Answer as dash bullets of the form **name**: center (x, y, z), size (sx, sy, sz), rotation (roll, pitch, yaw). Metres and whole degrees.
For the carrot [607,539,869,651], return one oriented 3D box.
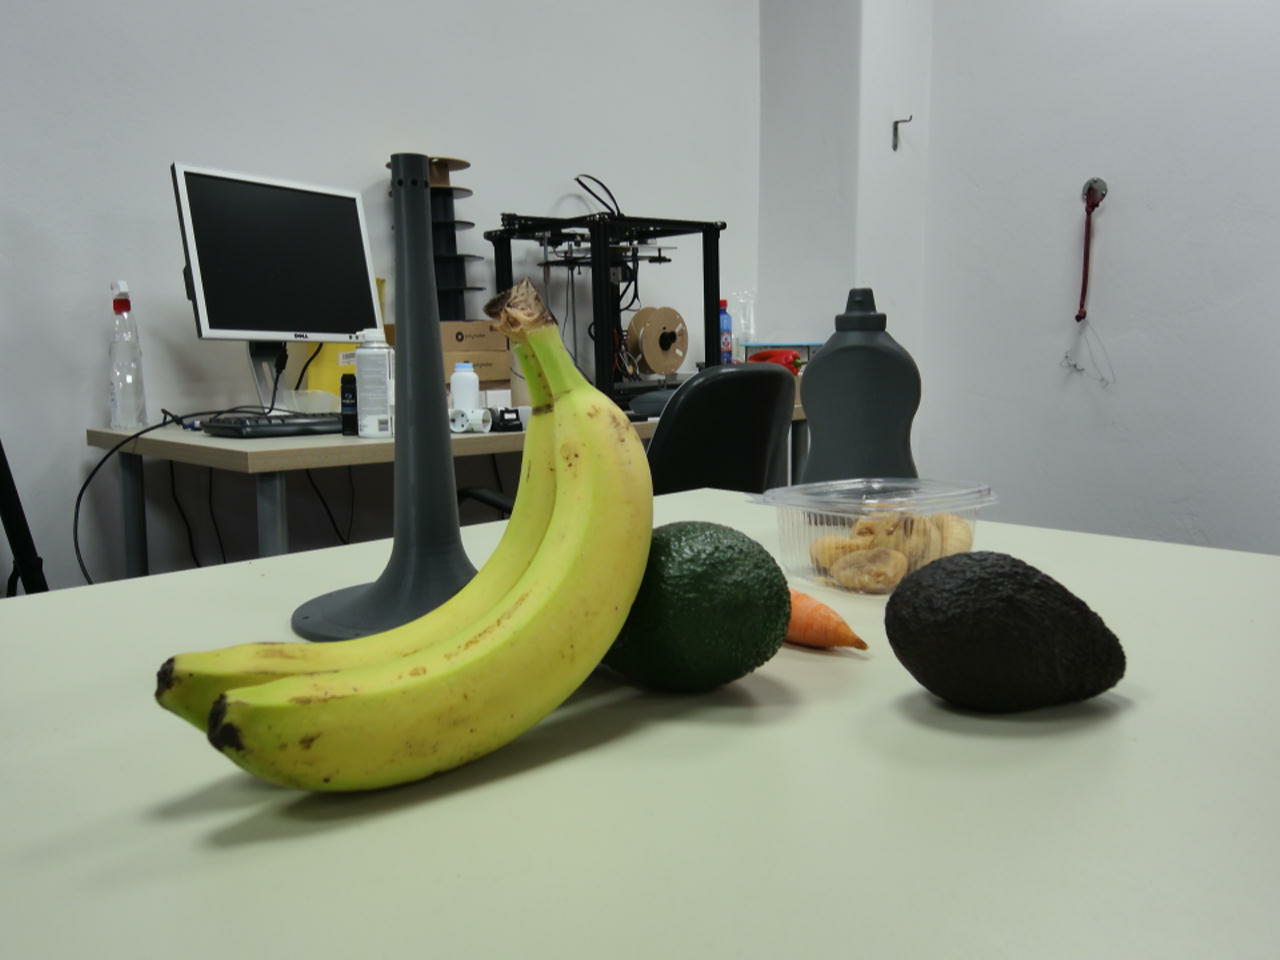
- **carrot**: center (0.053, 0.064, 0.584), size (0.039, 0.041, 0.196), rotation (-5, 8, -43)
